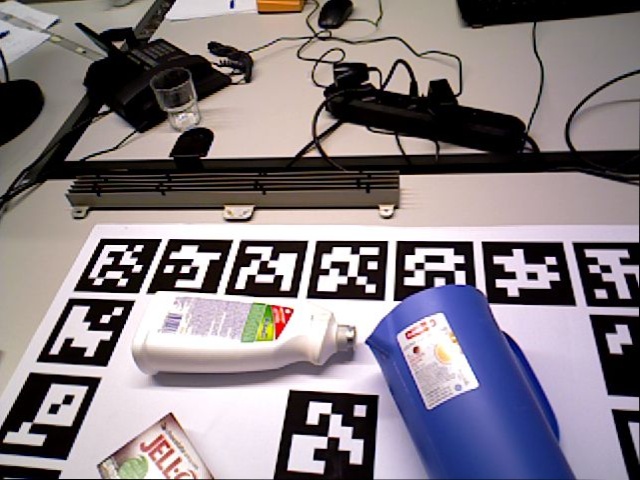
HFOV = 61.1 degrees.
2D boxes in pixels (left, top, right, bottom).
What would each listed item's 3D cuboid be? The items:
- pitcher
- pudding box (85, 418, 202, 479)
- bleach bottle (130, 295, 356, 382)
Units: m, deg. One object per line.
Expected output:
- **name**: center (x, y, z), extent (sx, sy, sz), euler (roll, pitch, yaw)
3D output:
- **pitcher**: center (0.155, 0.186, 0.495), extent (0.186, 0.137, 0.240), euler (7, 45, -32)
- **pudding box**: center (-0.165, 0.246, 0.532), extent (0.088, 0.039, 0.113), euler (-29, 52, -23)
- **bleach bottle**: center (-0.085, 0.114, 0.625), extent (0.251, 0.069, 0.101), euler (0, 53, 8)
